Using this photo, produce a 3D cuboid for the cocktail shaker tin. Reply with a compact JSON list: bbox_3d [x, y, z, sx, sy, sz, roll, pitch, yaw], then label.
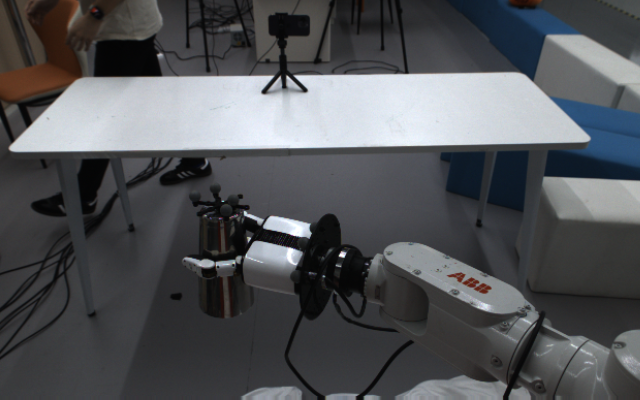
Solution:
[{"bbox_3d":[-0.152,0.091,0.768,0.093,0.170,0.093,1,25,-1],"label":"cocktail shaker tin"}]
